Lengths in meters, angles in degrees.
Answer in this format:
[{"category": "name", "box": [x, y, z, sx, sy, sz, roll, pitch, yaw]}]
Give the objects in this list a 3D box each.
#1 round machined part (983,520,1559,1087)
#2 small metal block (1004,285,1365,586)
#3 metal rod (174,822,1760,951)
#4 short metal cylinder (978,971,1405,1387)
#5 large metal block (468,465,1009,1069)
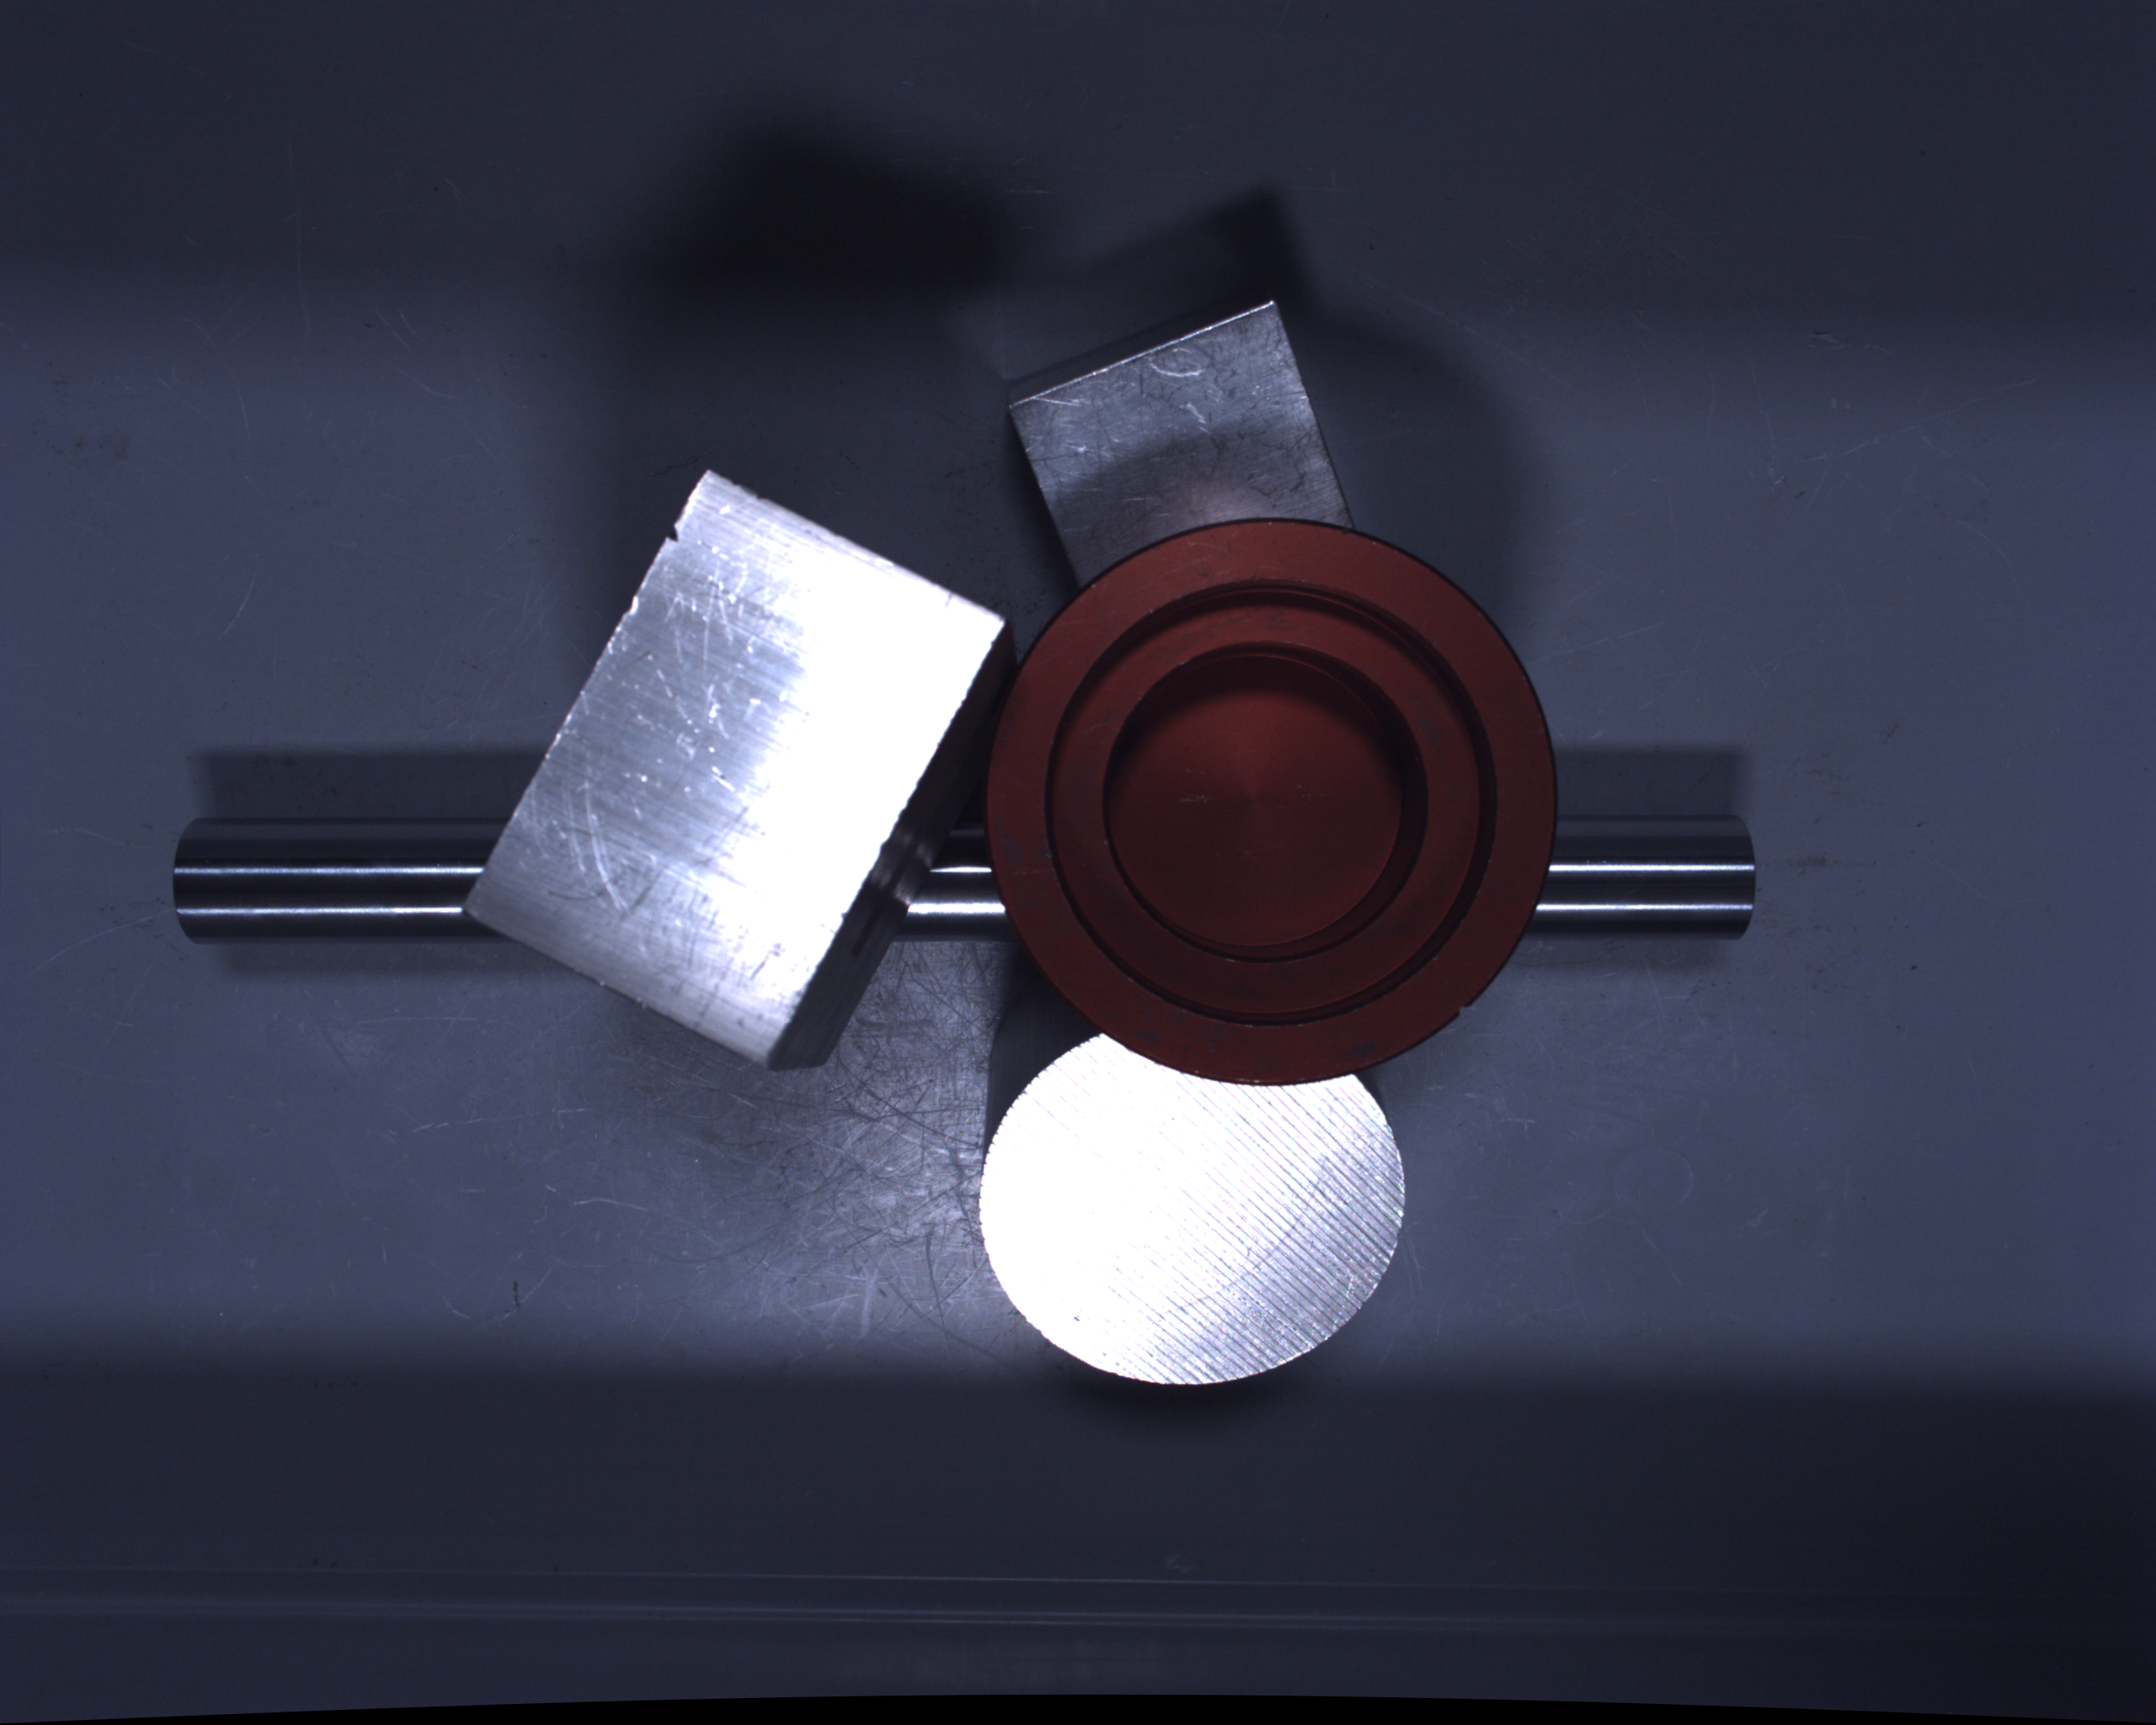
[{"category": "round machined part", "box": [0.033, -0.011, 0.377, 0.099, 0.042, 0.097, 0, 93, 0]}, {"category": "small metal block", "box": [0.019, -0.072, 0.384, 0.050, 0.025, 0.050, -20, 109, 6]}, {"category": "metal rod", "box": [-0.020, 0.005, 0.410, 0.302, 0.025, 0.025, 0, 110, -1]}, {"category": "short metal cylinder", "box": [0.021, 0.056, 0.417, 0.081, 0.050, 0.079, 0, 110, -1]}, {"category": "large metal block", "box": [-0.052, -0.012, 0.360, 0.050, 0.080, 0.080, 27, 85, 2]}]
